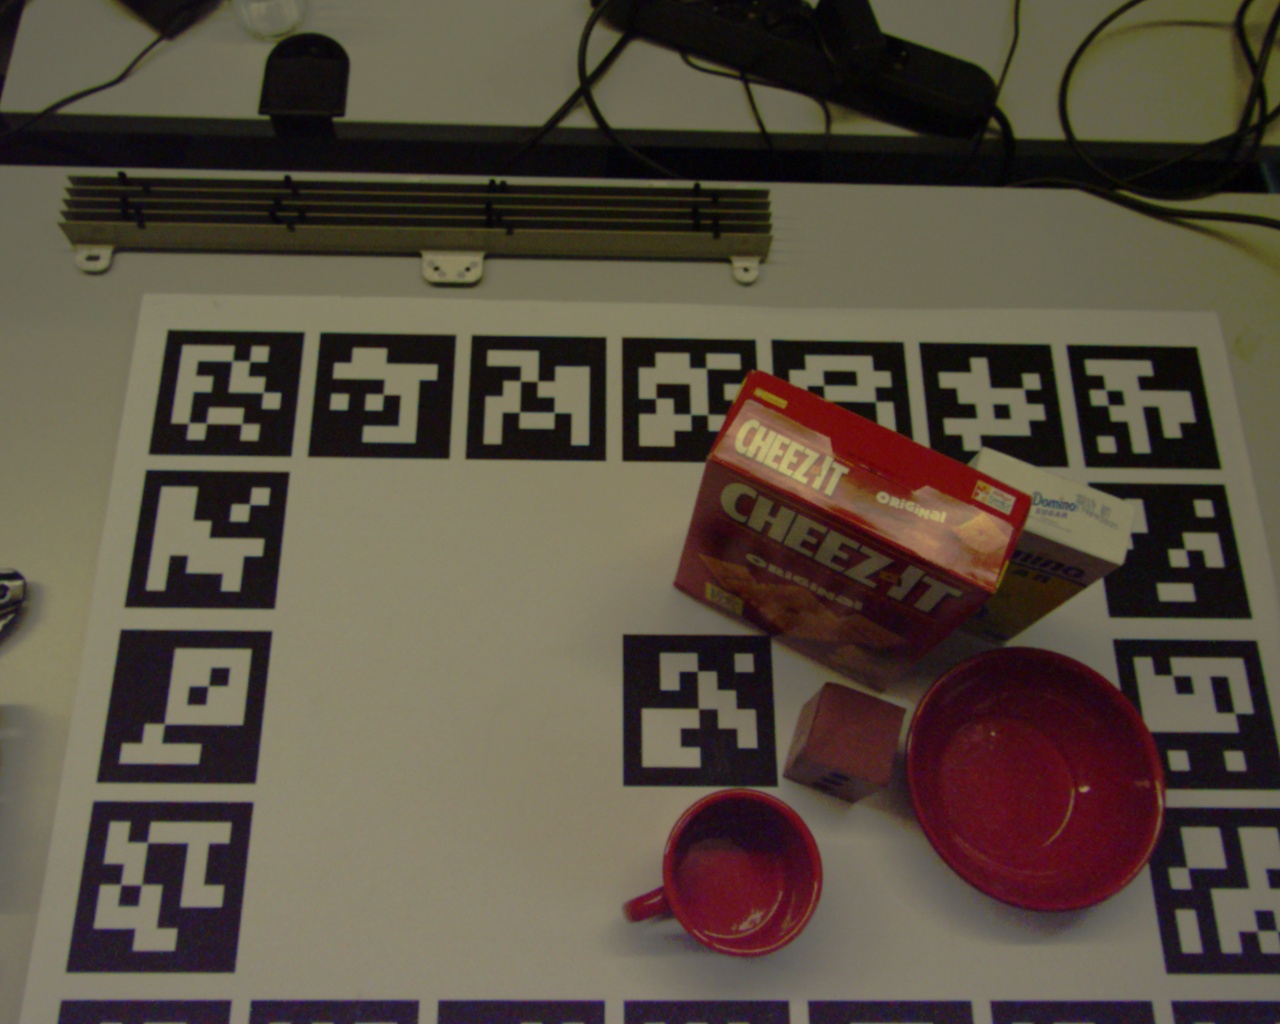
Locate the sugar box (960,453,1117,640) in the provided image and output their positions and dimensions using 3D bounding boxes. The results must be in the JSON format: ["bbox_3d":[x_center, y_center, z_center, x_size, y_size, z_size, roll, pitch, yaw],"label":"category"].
[{"bbox_3d":[0.226,0.028,0.743,0.093,0.176,0.045,21,70,5],"label":"sugar box"}]

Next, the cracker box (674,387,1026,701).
[{"bbox_3d":[0.116,0.033,0.719,0.165,0.213,0.072,29,68,7],"label":"cracker box"}]

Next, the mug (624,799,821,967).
[{"bbox_3d":[0.048,0.235,0.704,0.117,0.081,0.094,-8,62,-4],"label":"mug"}]

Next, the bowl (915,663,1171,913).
[{"bbox_3d":[0.251,0.183,0.738,0.161,0.055,0.162,0,70,-2],"label":"bowl"}]

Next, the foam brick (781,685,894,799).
[{"bbox_3d":[0.129,0.153,0.750,0.053,0.078,0.051,15,68,4],"label":"foam brick"}]
